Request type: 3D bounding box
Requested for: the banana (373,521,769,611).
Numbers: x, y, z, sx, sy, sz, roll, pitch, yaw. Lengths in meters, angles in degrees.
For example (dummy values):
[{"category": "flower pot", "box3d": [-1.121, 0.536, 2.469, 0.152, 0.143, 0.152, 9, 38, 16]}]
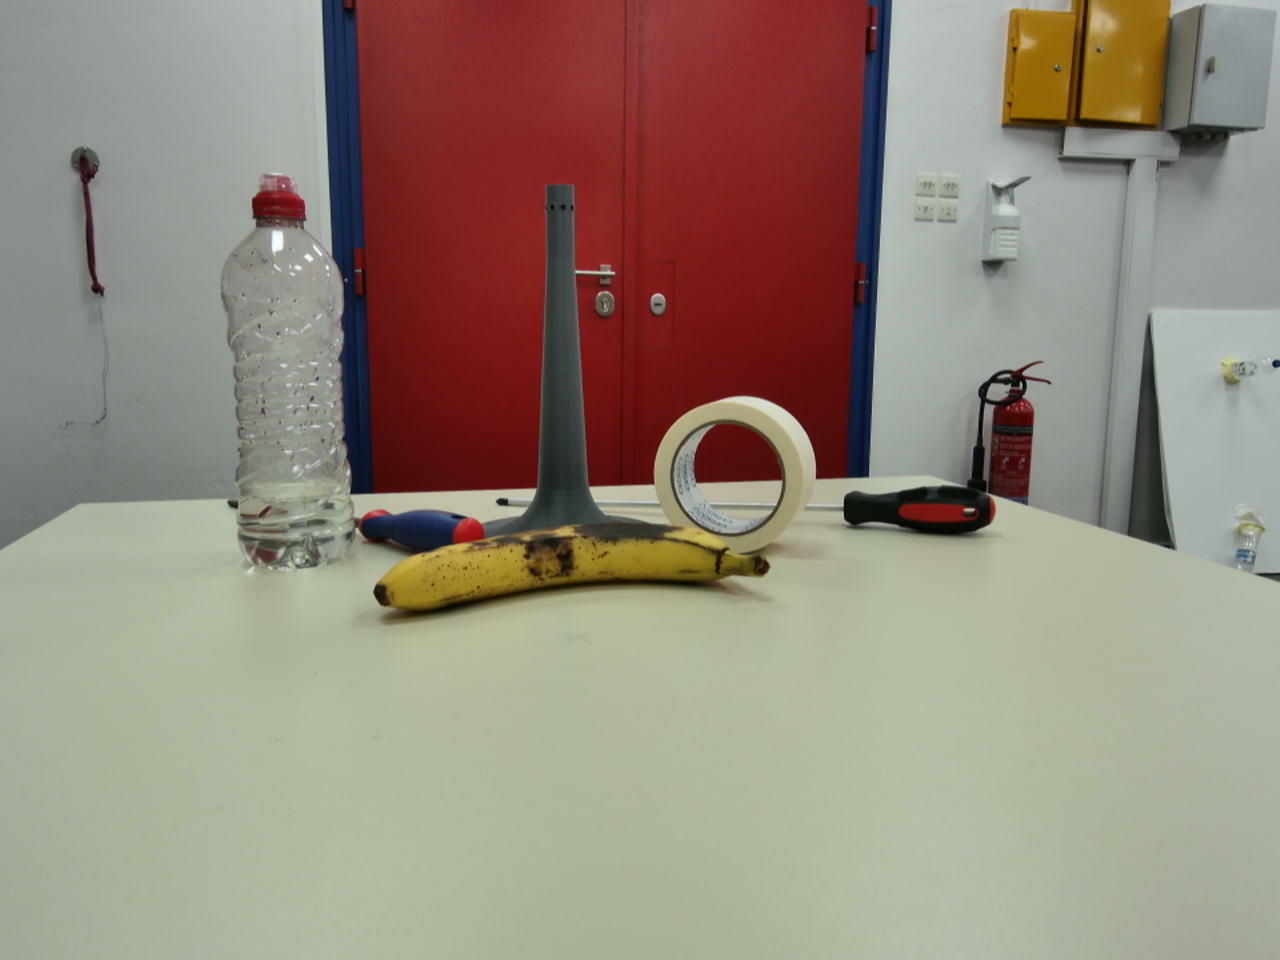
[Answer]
[{"category": "banana", "box3d": [-0.040, 0.049, 0.591, 0.222, 0.037, 0.084, -1, 8, -12]}]
